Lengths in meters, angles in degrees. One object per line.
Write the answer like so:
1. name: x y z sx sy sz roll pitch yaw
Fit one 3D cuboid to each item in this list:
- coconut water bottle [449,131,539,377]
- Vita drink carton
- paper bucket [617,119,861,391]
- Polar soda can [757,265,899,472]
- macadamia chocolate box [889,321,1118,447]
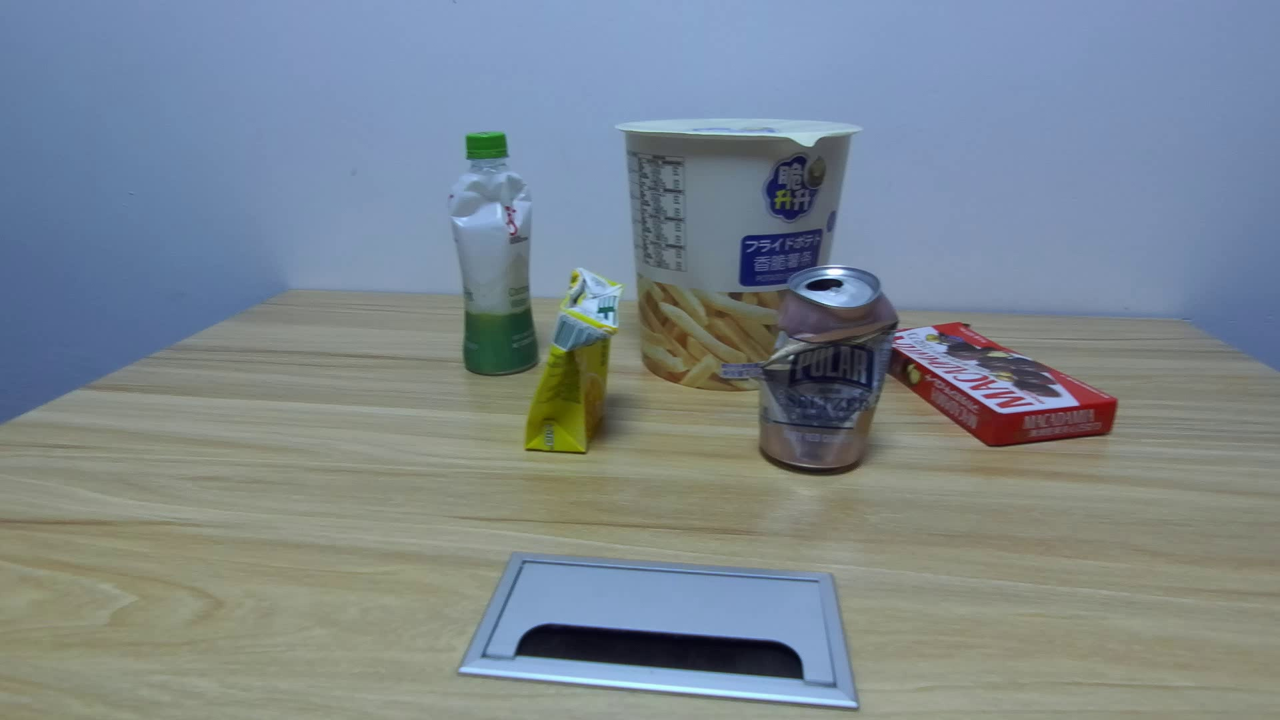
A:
1. coconut water bottle: -0.119 -0.084 0.573 0.069 0.186 0.069 -2 18 1
2. Vita drink carton: -0.040 0.002 0.467 0.042 0.108 0.087 16 26 1
3. paper bucket: 0.075 -0.091 0.581 0.198 0.194 0.198 0 21 0
4. Polar soda can: 0.111 0.008 0.433 0.071 0.122 0.066 -18 34 -35
5. macadamia chocolate box: 0.264 0.011 0.556 0.106 0.028 0.182 -5 22 -11
